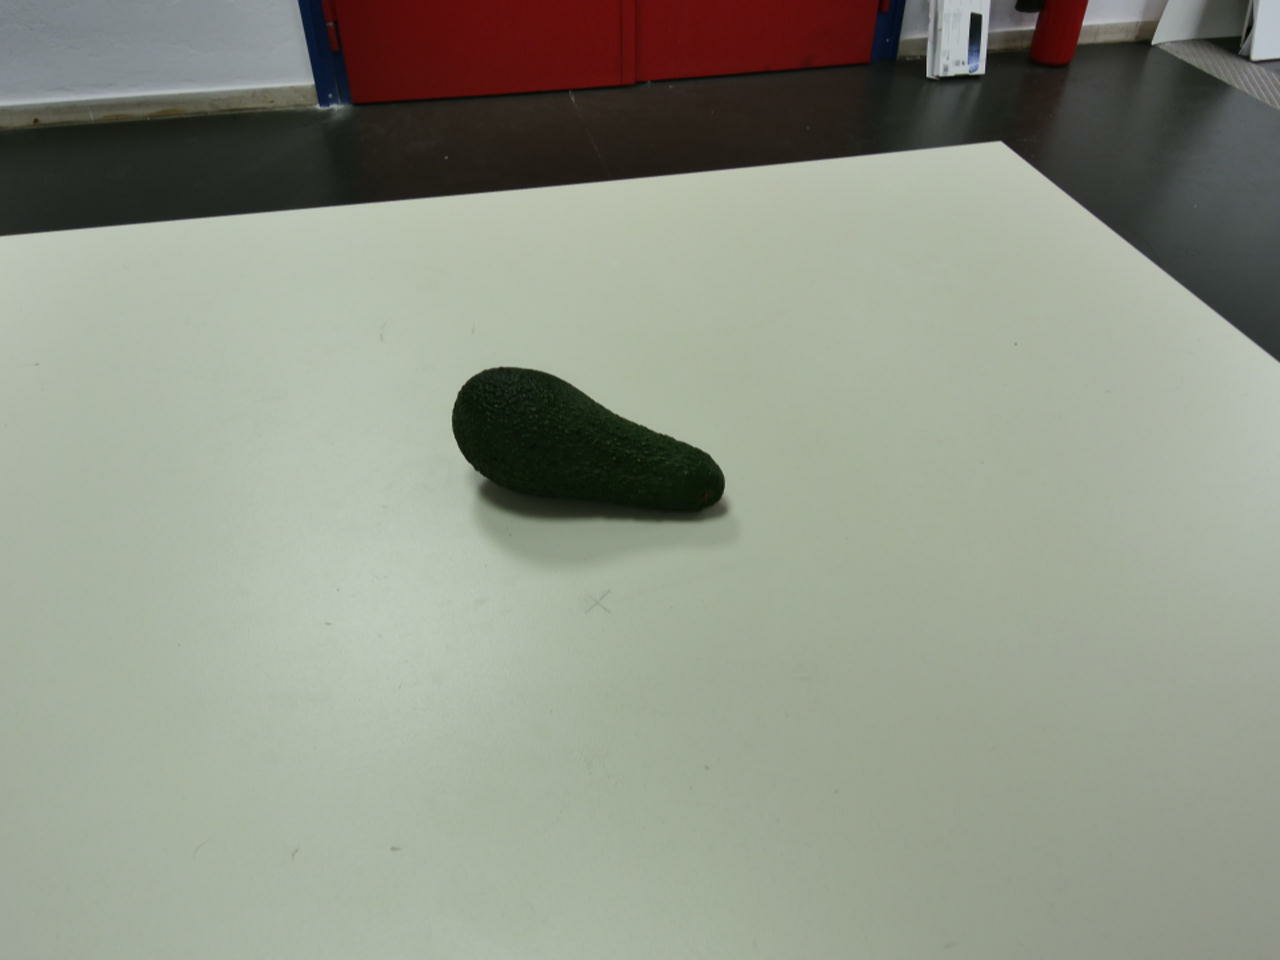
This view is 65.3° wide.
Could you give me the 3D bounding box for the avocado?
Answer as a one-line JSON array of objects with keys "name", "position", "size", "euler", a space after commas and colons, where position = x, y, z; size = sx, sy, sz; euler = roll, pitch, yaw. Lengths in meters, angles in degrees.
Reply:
[{"name": "avocado", "position": [-0.026, -0.024, 0.509], "size": [0.141, 0.067, 0.063], "euler": [2, 39, 2]}]
